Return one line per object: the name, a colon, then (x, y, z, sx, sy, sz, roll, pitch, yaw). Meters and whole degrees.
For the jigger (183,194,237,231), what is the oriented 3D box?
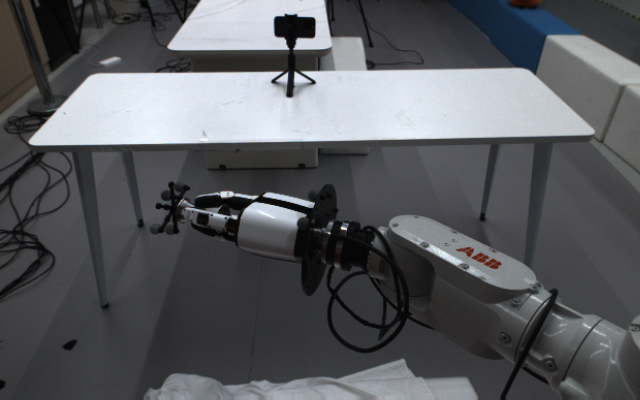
jigger: (-0.171, 0.019, 0.726, 0.071, 0.043, 0.043, 11, 36, 16)
